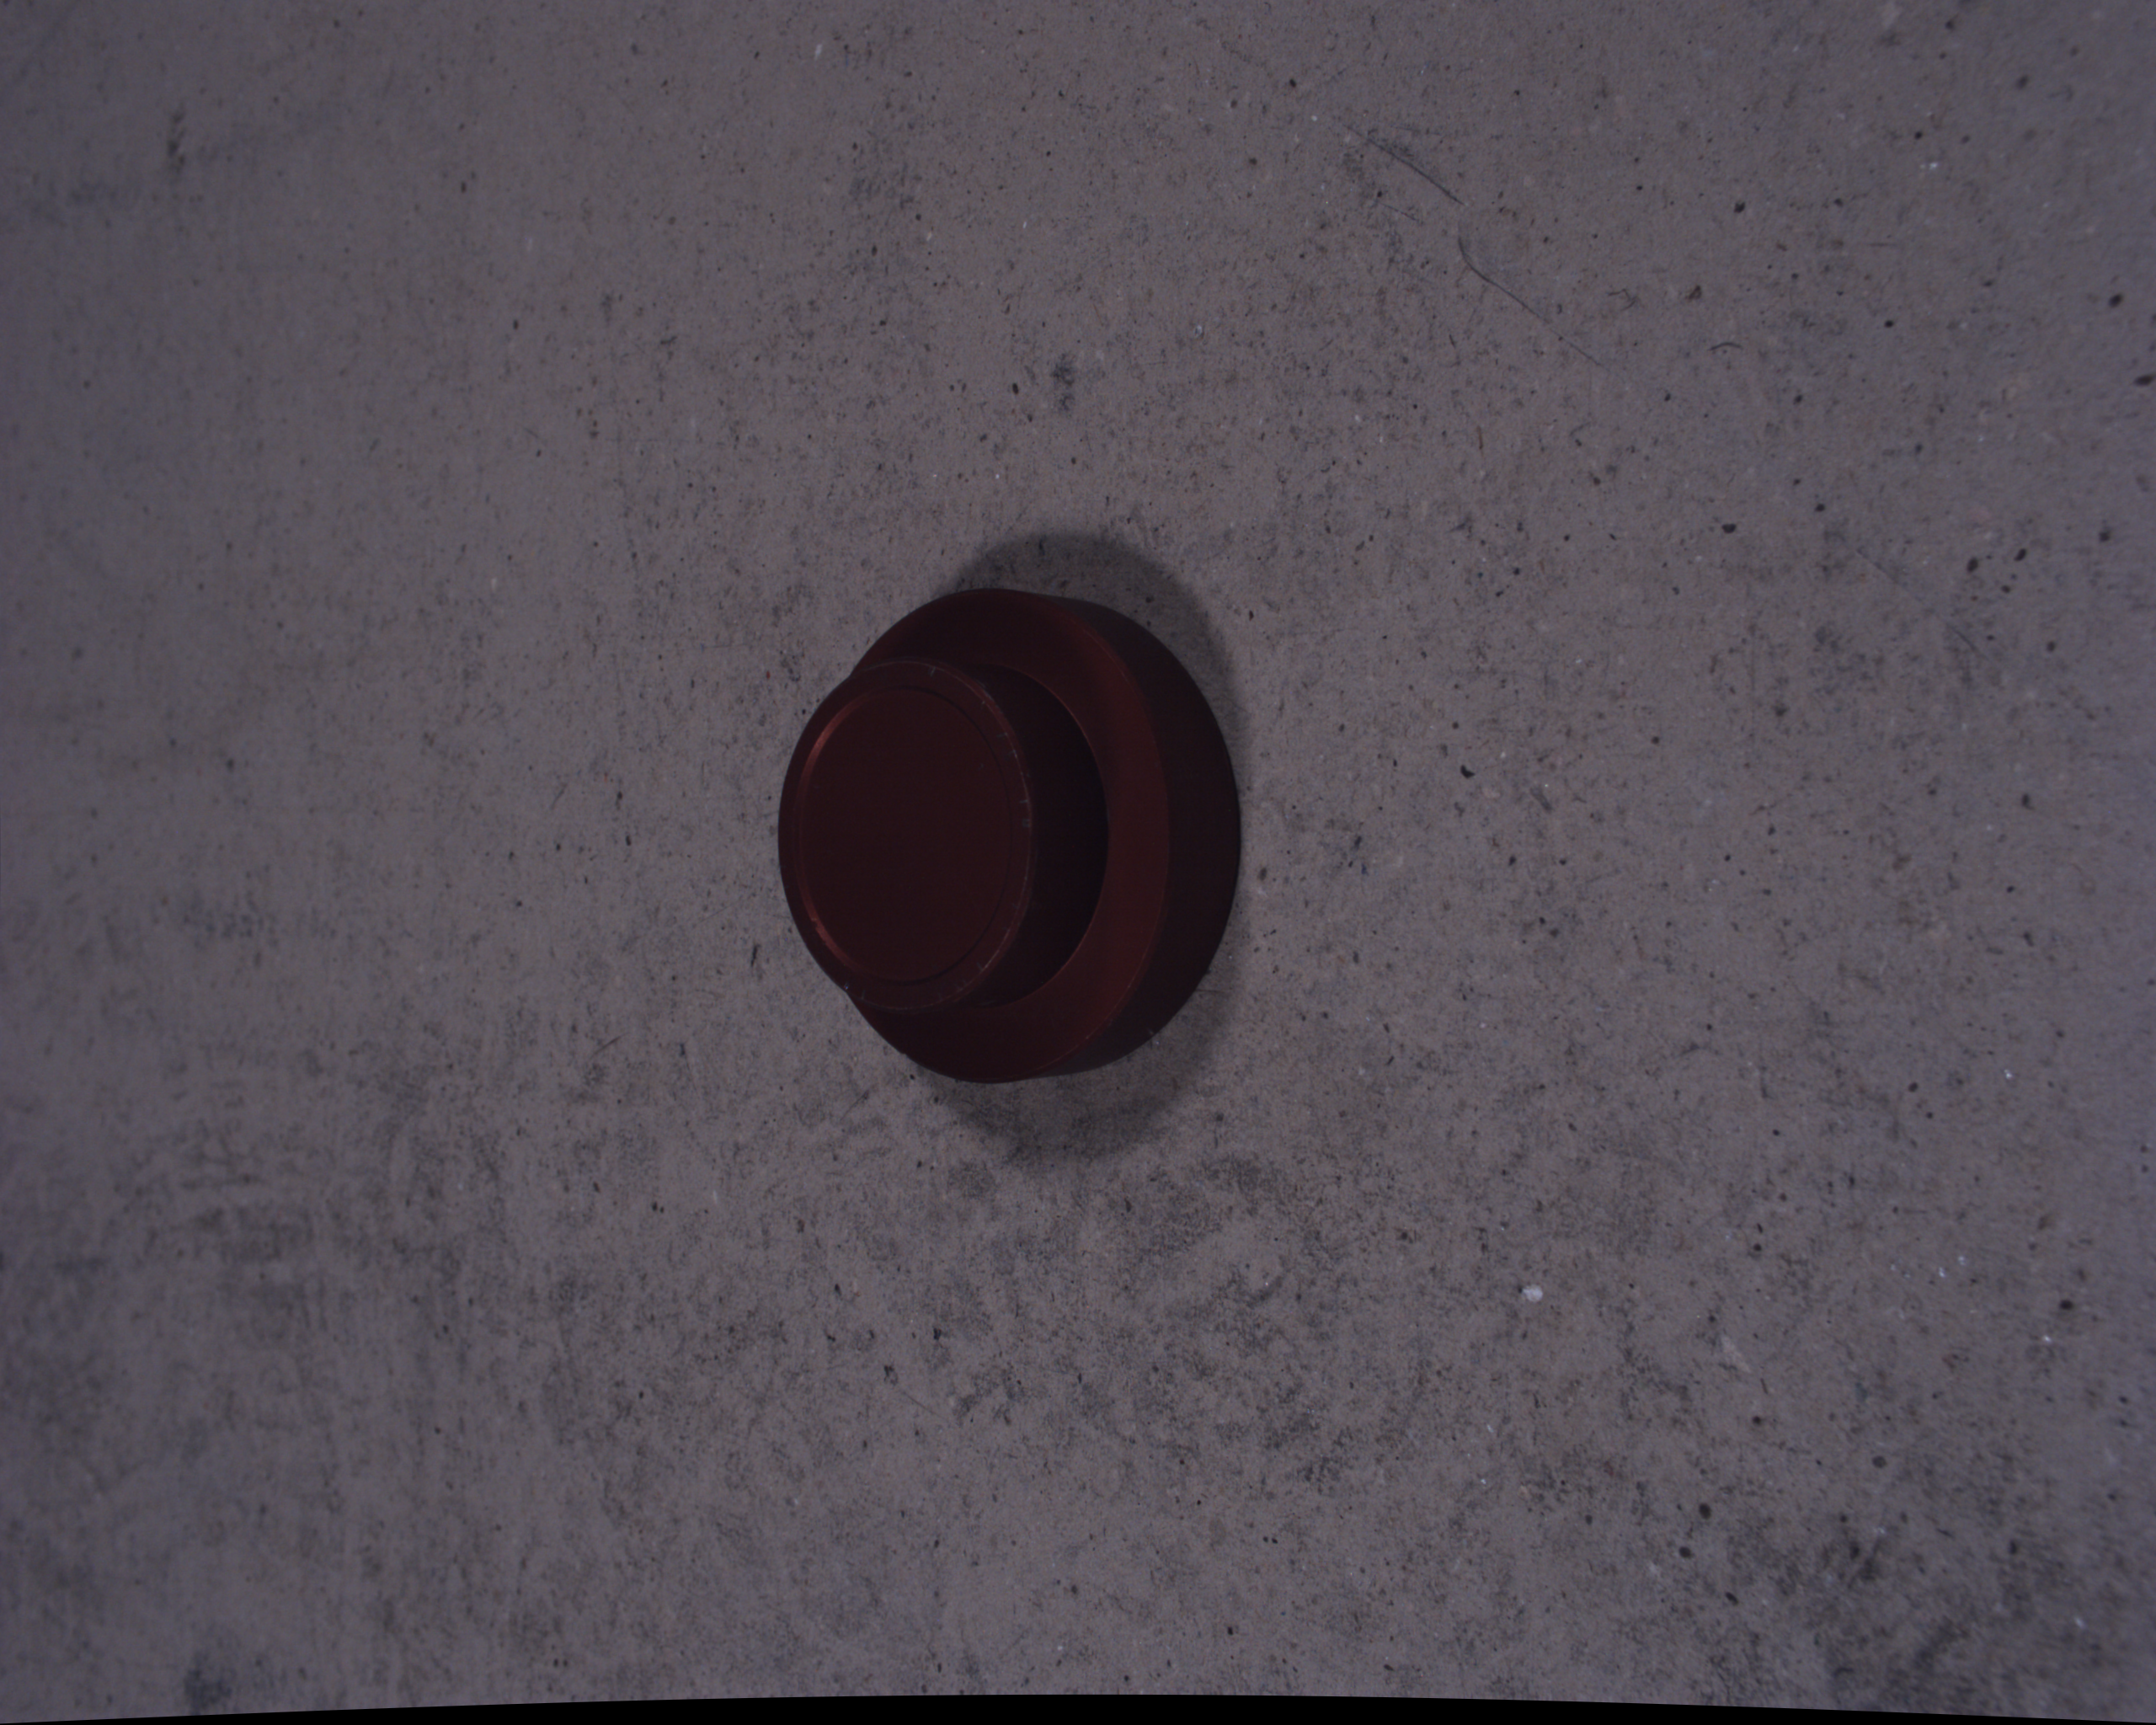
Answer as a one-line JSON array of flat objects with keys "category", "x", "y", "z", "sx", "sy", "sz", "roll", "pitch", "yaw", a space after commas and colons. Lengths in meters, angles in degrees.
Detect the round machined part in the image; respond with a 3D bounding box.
[{"category": "round machined part", "x": -0.021, "y": -0.005, "z": 0.410, "sx": 0.098, "sy": 0.042, "sz": 0.097, "roll": 0, "pitch": 90, "yaw": 39}]
